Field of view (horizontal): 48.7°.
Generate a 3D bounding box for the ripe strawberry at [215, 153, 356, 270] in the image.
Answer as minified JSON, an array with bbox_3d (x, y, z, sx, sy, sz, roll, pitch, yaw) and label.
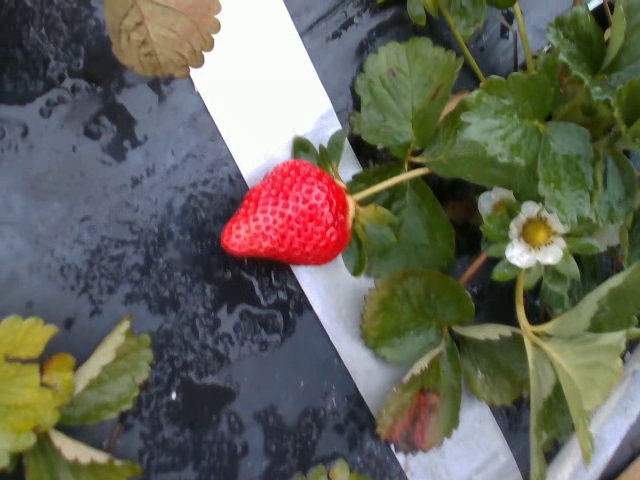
[{"bbox_3d":[-0.013,-0.007,0.227,0.051,0.041,0.038,-21,36,-37],"label":"ripe strawberry"}]
